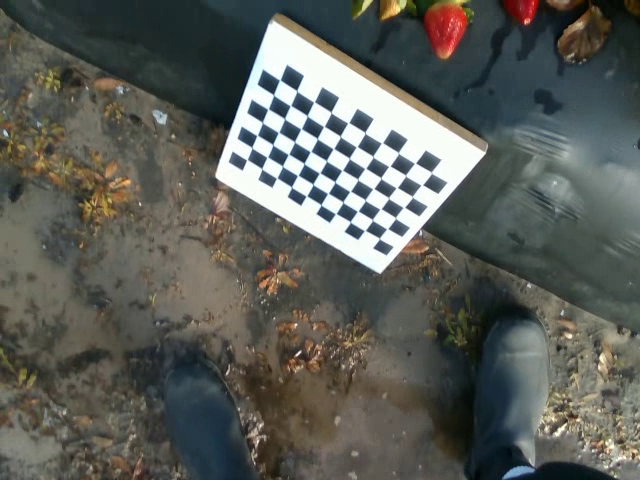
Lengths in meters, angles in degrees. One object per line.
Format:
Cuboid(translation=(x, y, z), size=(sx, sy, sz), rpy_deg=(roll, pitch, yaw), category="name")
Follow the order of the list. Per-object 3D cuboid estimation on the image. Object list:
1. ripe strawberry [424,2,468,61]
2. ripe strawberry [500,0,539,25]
Cuboid(translation=(0.139, -0.226, 0.673), size=(0.050, 0.065, 0.049), rpy_deg=(2, -13, 26), category="ripe strawberry")
Cuboid(translation=(0.221, -0.251, 0.667), size=(0.044, 0.055, 0.041), rpy_deg=(-21, -22, 39), category="ripe strawberry")
